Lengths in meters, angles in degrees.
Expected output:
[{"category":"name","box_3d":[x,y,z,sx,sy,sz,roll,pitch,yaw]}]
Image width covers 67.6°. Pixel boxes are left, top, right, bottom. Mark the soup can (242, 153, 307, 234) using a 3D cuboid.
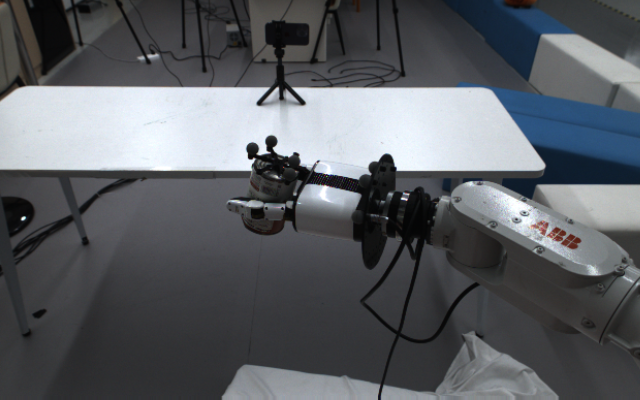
[{"category":"soup can","box_3d":[-0.073,-0.007,0.708,0.067,0.101,0.067,13,35,-9]}]
